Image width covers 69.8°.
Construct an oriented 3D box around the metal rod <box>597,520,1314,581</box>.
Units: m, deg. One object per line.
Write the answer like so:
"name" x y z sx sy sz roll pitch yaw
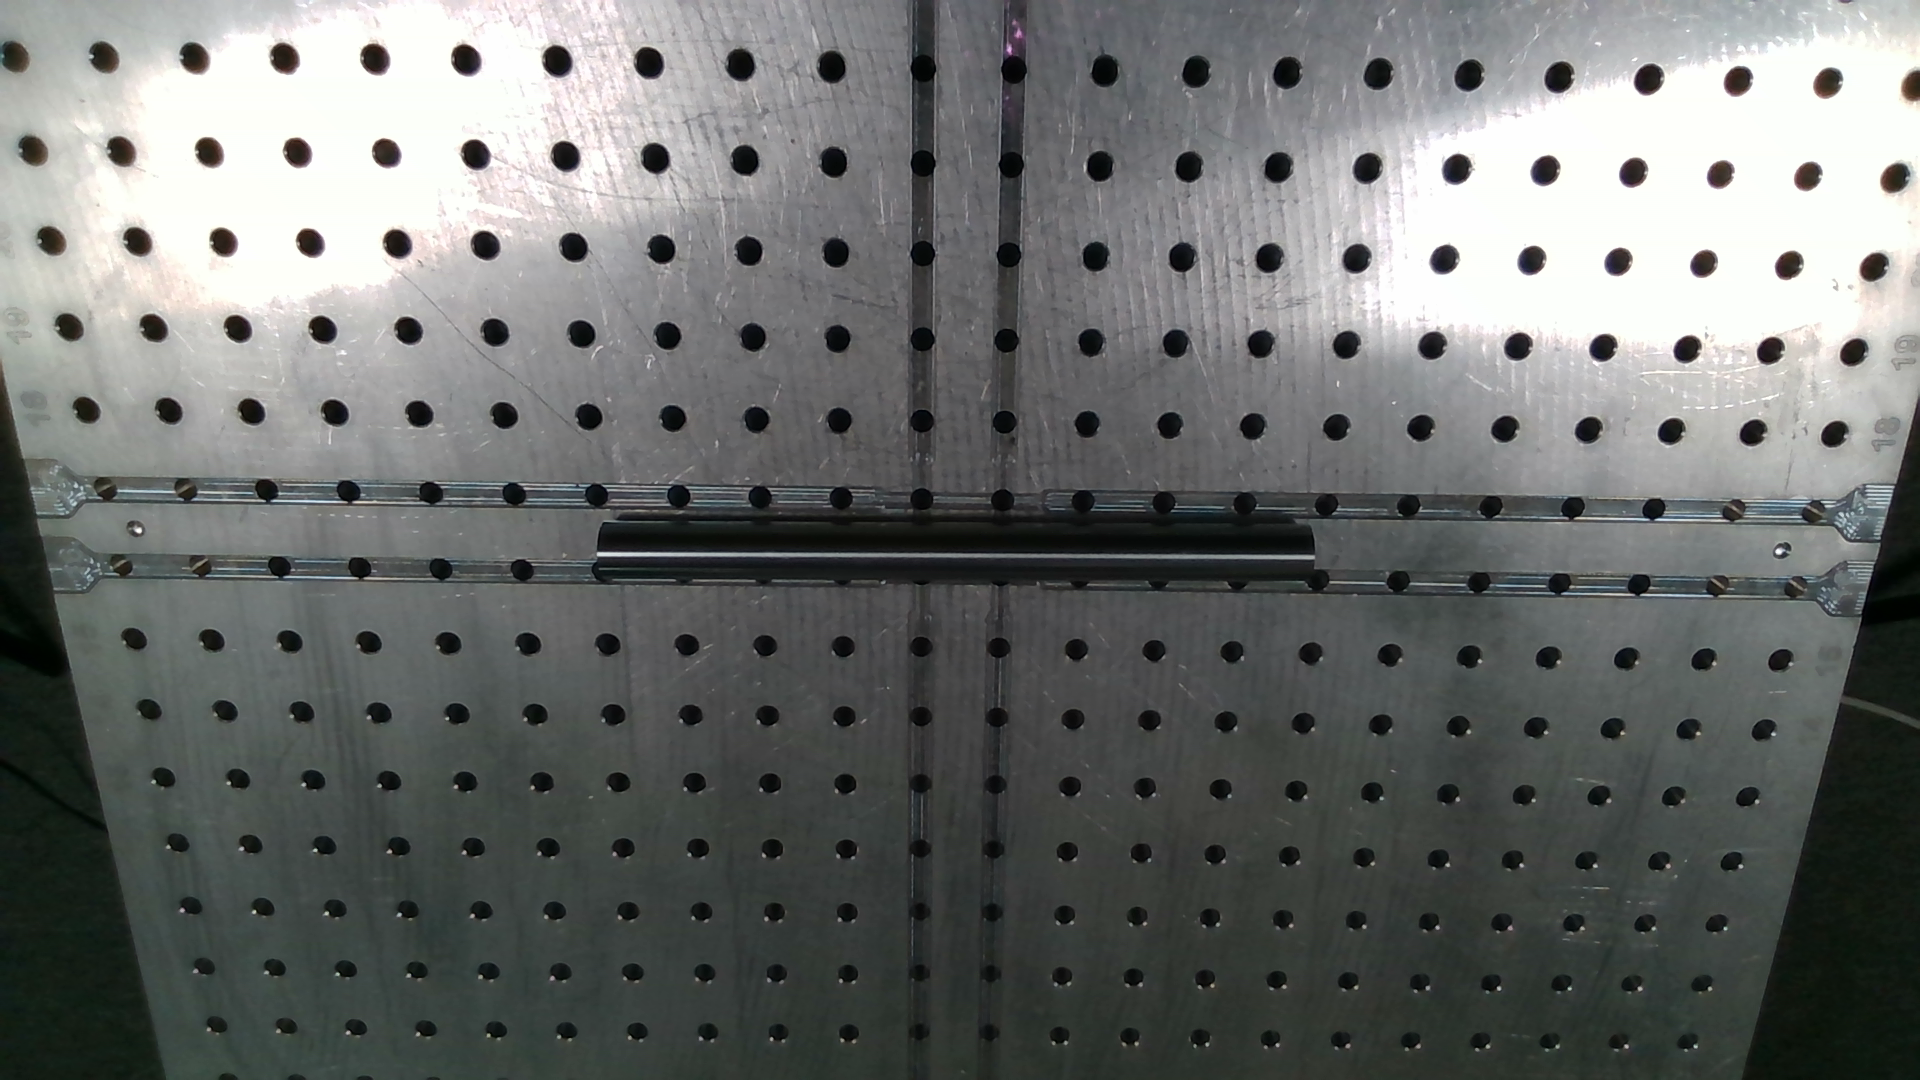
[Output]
"metal rod" -0.002 0.005 0.589 0.300 0.025 0.025 0 110 0
